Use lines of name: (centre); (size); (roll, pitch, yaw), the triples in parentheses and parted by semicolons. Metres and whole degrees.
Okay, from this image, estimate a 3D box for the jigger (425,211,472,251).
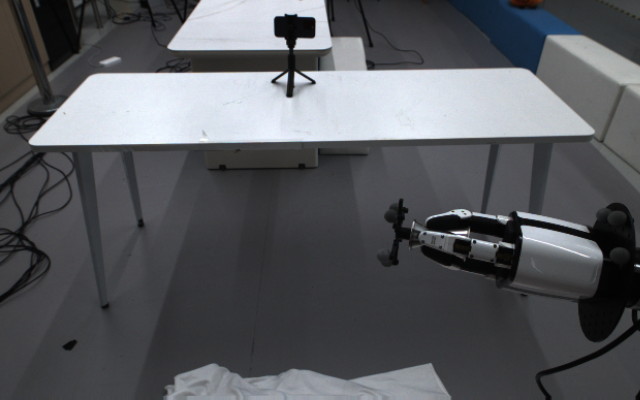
jigger: (0.153, 0.044, 0.595); (0.071, 0.043, 0.043); (8, 35, 16)
